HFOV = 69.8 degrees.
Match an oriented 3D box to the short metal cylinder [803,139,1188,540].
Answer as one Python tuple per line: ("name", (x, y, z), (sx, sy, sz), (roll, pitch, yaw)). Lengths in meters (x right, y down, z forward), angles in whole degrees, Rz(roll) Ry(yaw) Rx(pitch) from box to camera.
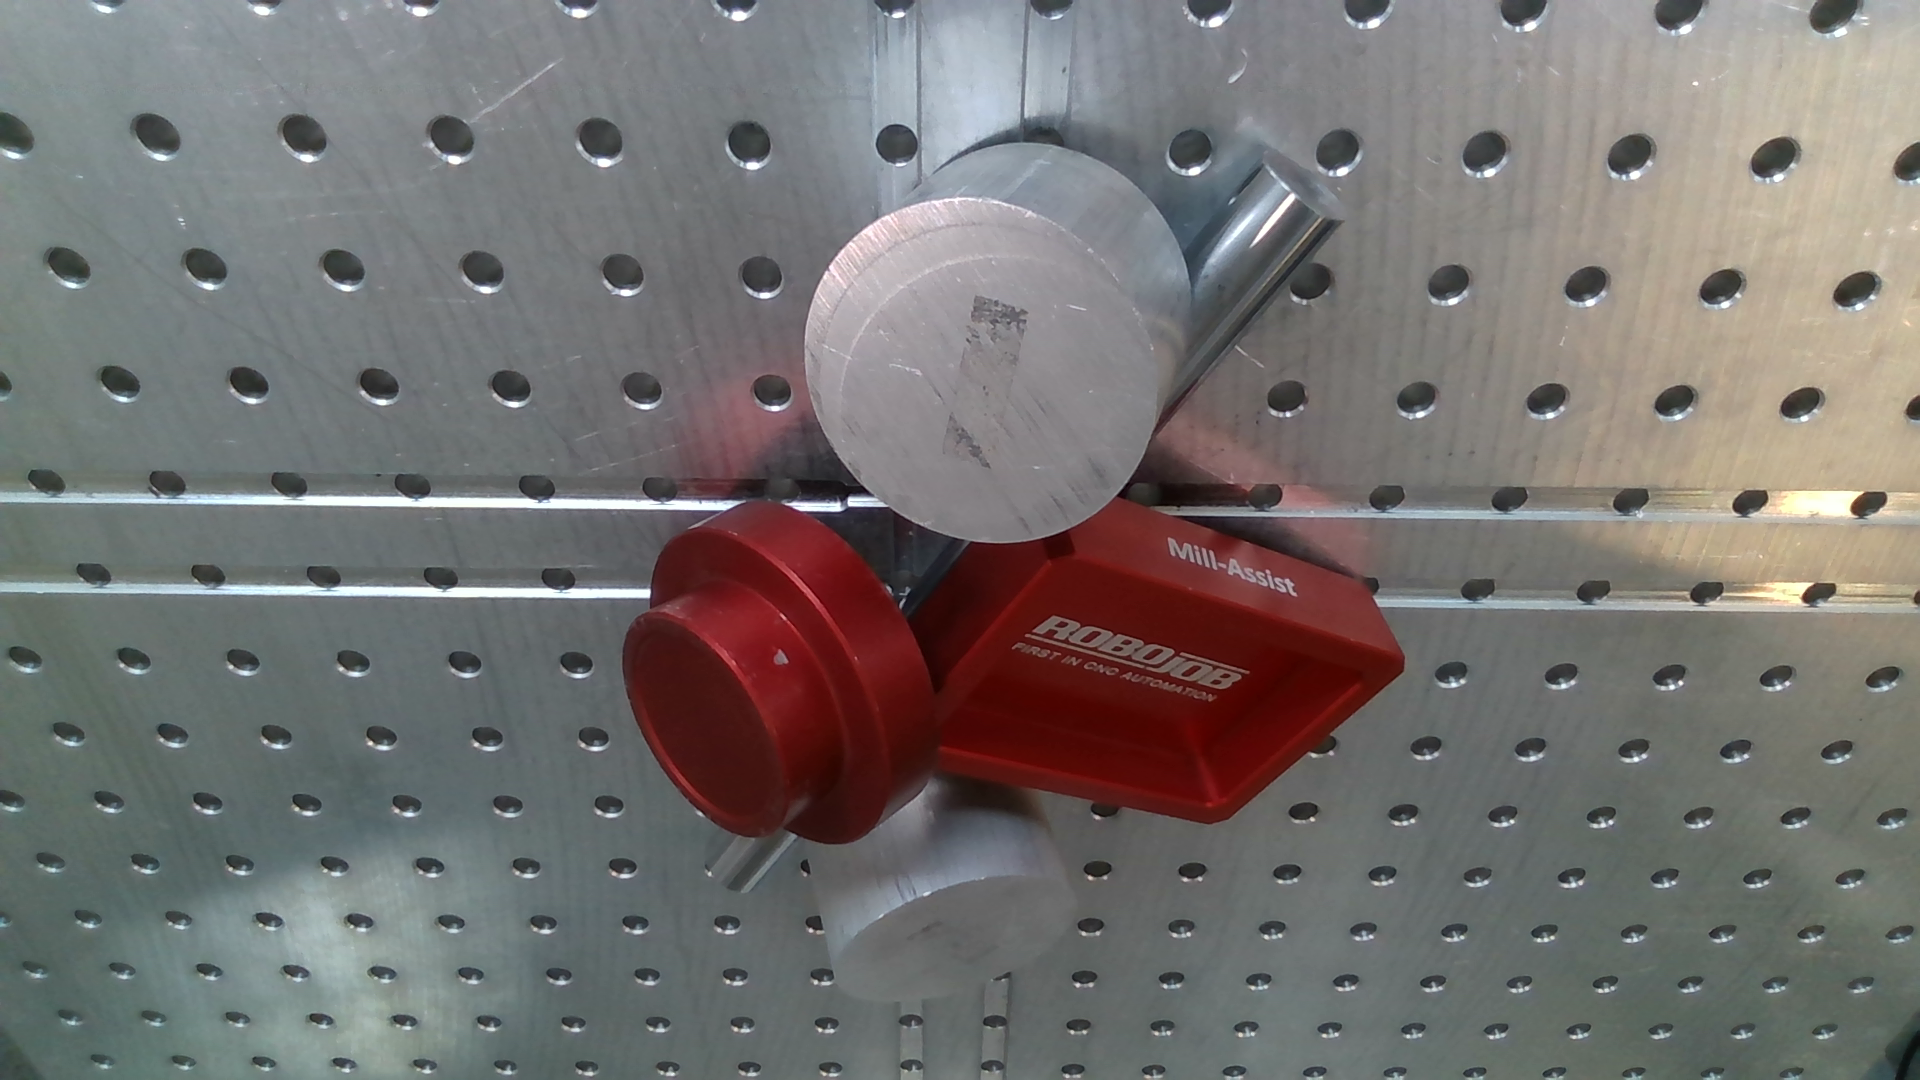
("short metal cylinder", (0.010, -0.047, 0.321), (0.080, 0.050, 0.080), (8, 121, 14))

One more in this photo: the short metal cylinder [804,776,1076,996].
("short metal cylinder", (-0.008, 0.107, 0.451), (0.080, 0.050, 0.080), (-13, 142, -10))

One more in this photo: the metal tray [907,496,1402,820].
("metal tray", (0.052, 0.037, 0.401), (0.130, 0.030, 0.090), (17, 129, -30))

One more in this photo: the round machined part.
("round machined part", (-0.056, 0.041, 0.380), (0.098, 0.042, 0.098), (26, 131, 34))

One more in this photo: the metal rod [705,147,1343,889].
("metal rod", (0.001, 0.014, 0.404), (0.025, 0.025, 0.301), (25, 125, -20))
